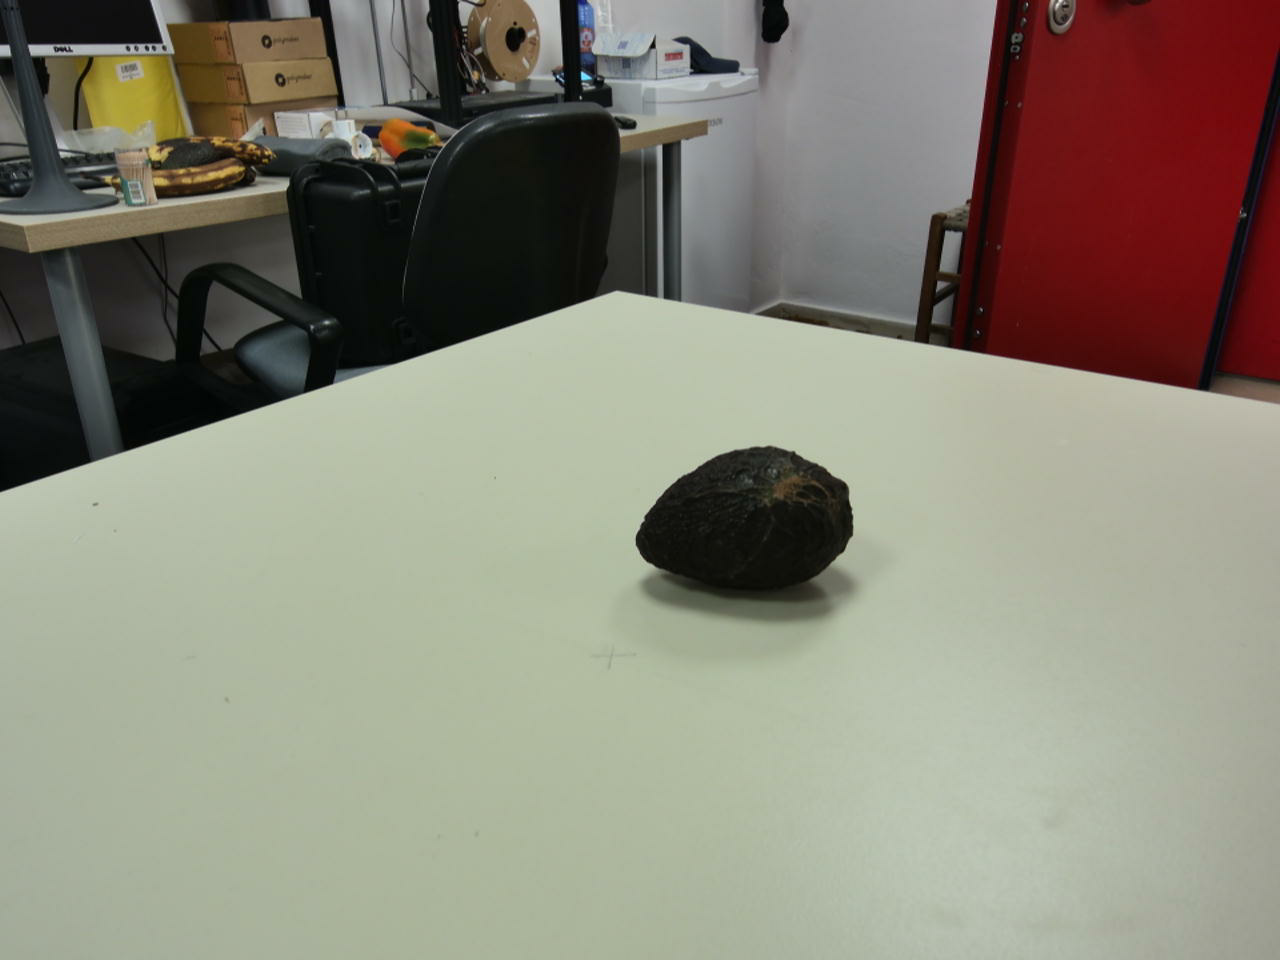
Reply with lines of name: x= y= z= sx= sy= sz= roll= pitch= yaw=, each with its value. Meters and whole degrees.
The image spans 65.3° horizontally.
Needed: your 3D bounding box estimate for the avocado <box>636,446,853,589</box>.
avocado: x=0.046 y=0.016 z=0.437 sx=0.092 sy=0.062 sz=0.062 roll=6 pitch=24 yaw=14
